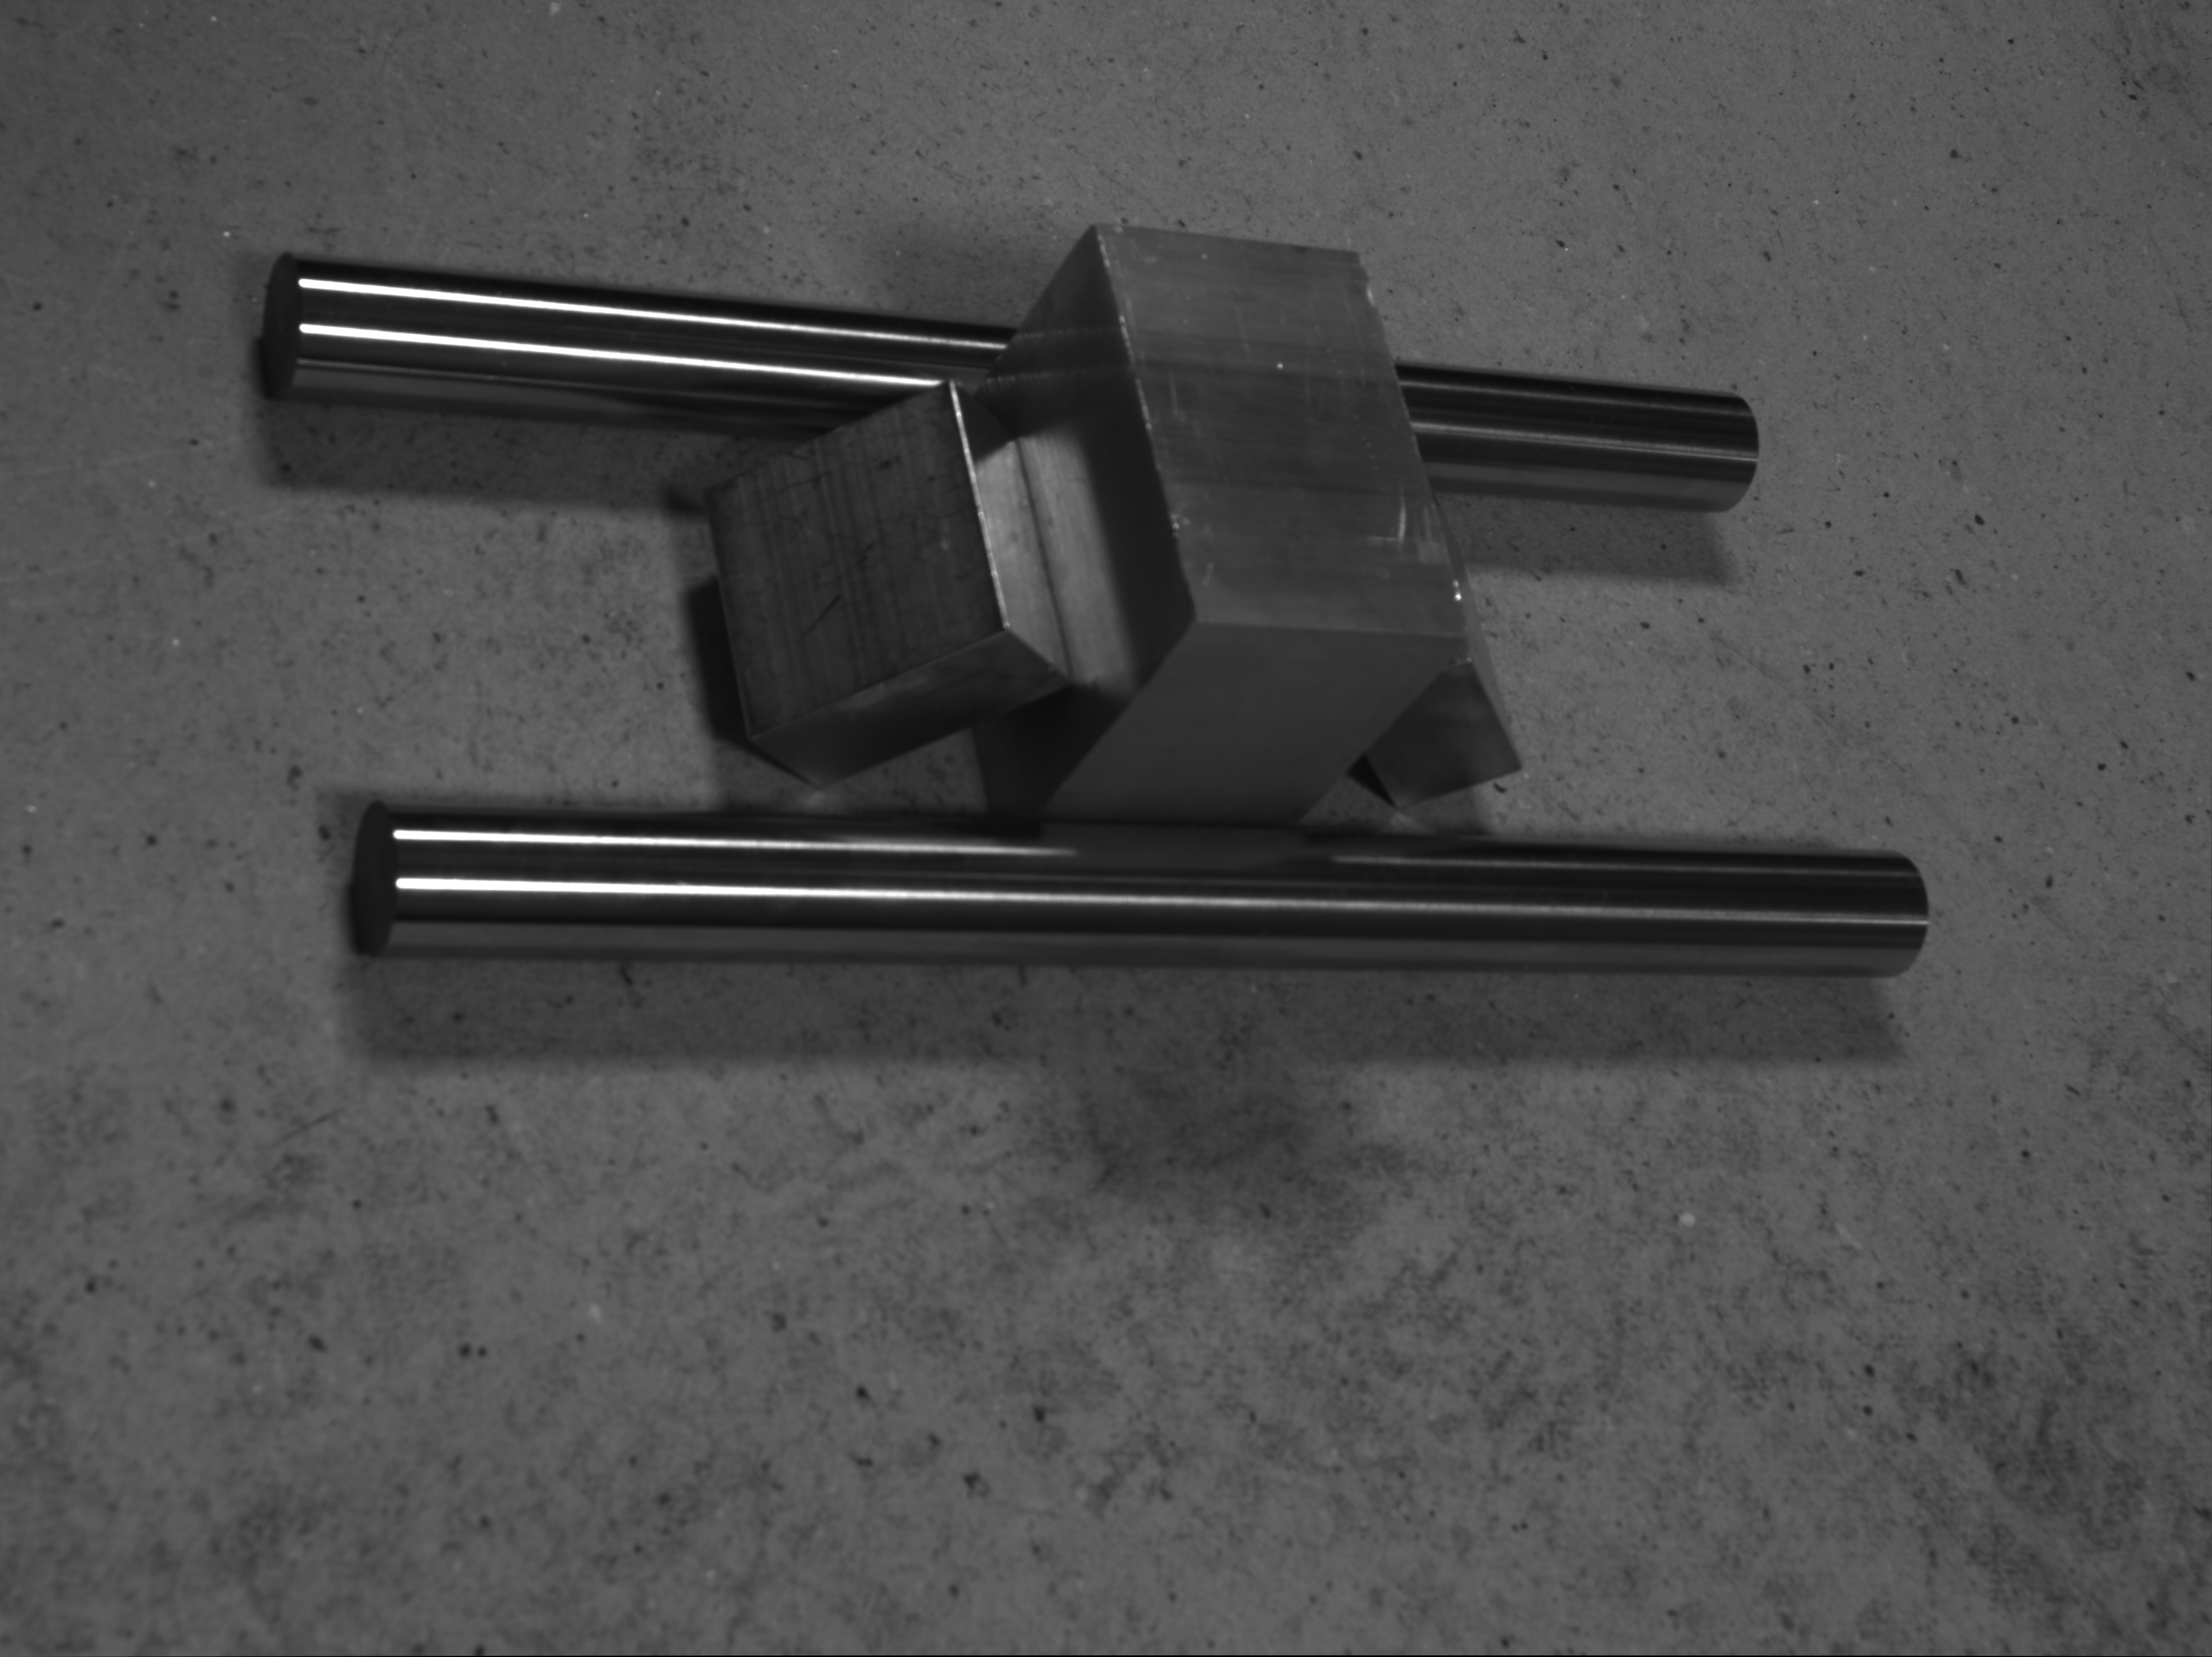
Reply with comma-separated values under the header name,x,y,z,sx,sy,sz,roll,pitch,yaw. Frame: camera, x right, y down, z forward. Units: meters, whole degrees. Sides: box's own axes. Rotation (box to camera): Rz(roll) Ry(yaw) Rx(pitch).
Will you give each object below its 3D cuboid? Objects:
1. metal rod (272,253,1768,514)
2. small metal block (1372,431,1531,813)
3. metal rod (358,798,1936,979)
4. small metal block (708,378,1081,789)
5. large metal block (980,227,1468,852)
name,x,y,z,sx,sy,sz,roll,pitch,yaw
metal rod,-0.004,-0.081,0.687,0.301,0.025,0.025,2,61,-27
small metal block,0.055,-0.038,0.675,0.025,0.050,0.050,-18,64,10
metal rod,0.020,0.012,0.643,0.301,0.025,0.025,2,61,-27
small metal block,-0.037,-0.042,0.628,0.025,0.050,0.050,36,36,-58
large metal block,0.013,-0.047,0.643,0.050,0.080,0.080,1,61,-28
